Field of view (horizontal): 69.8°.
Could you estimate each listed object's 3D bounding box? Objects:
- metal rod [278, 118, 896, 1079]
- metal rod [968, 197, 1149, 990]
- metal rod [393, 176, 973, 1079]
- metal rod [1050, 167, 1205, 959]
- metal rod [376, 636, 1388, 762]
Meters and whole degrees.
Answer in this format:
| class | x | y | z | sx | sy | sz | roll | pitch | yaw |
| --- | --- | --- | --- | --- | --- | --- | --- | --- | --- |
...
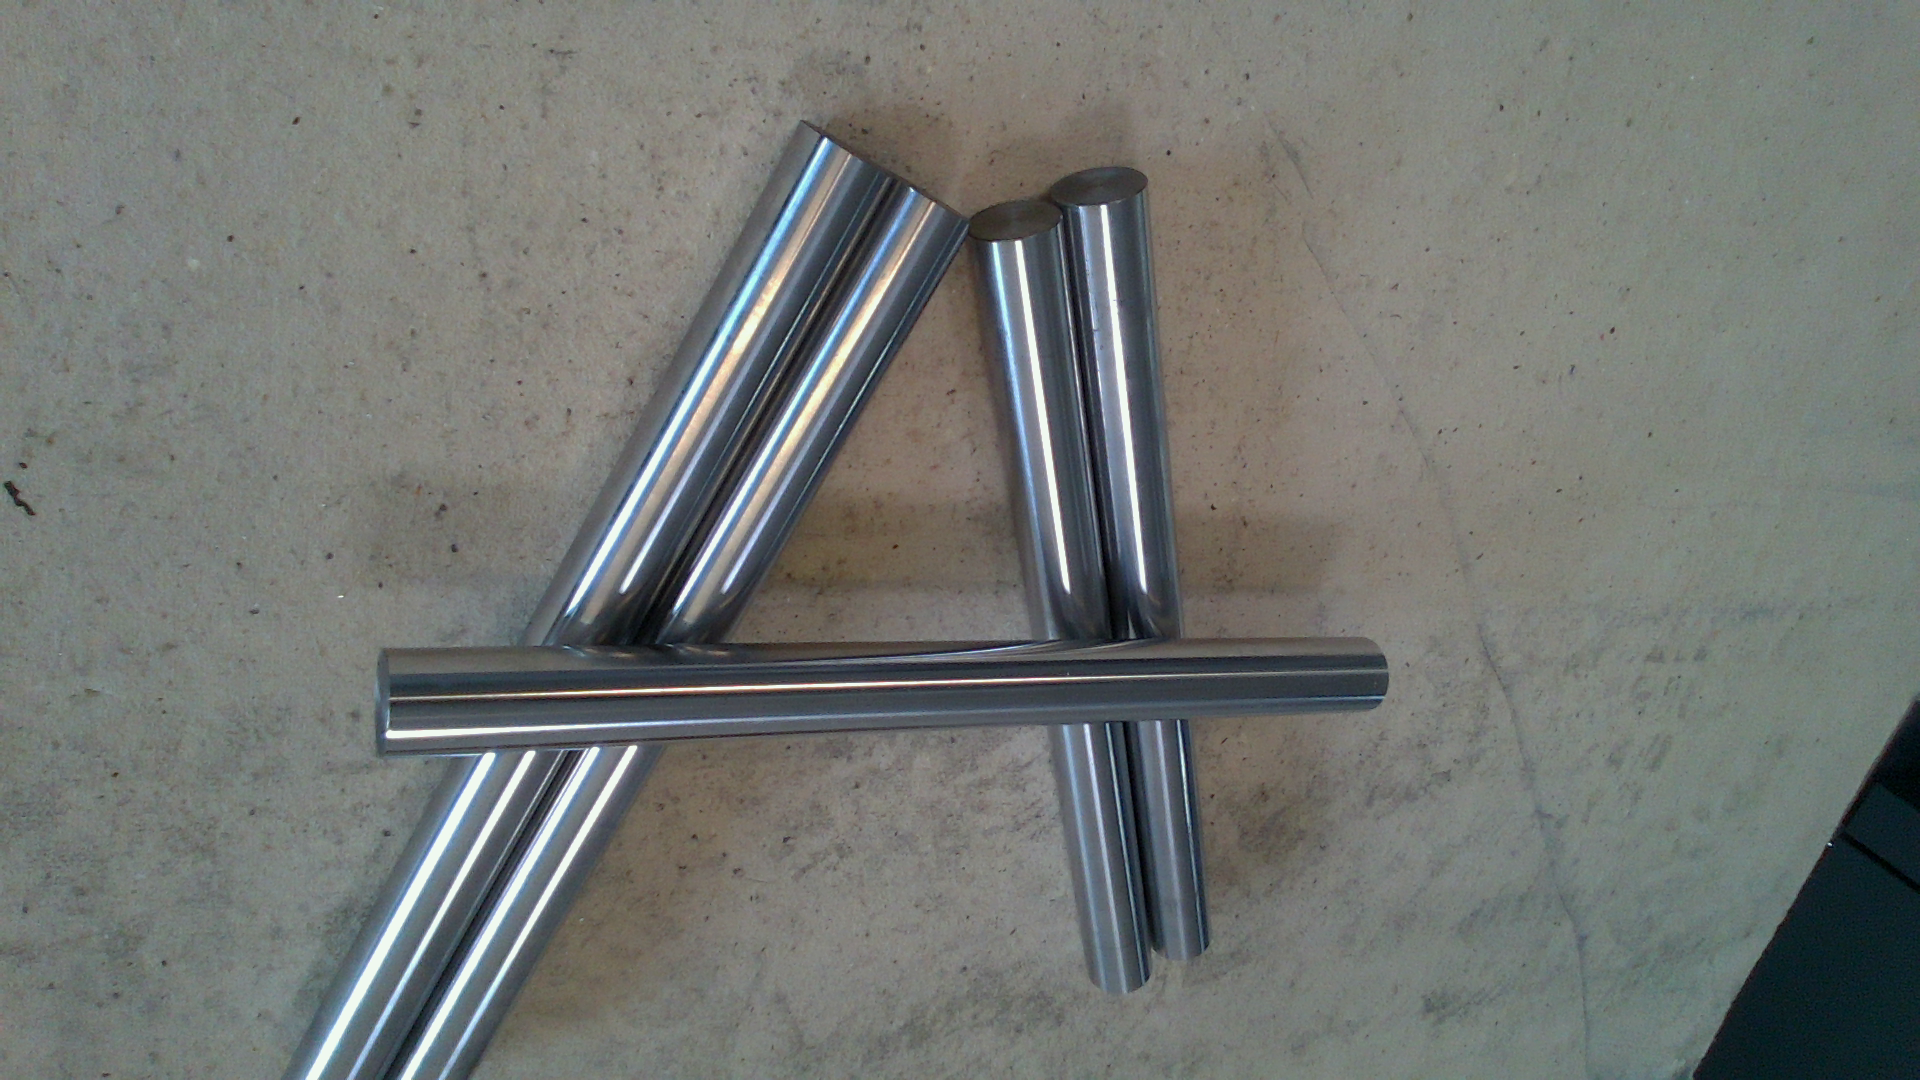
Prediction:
| class | x | y | z | sx | sy | sz | roll | pitch | yaw |
| --- | --- | --- | --- | --- | --- | --- | --- | --- | --- |
| metal rod | -0.103 | 0.033 | 0.353 | 0.025 | 0.025 | 0.300 | 22 | 106 | -36 |
| metal rod | 0.037 | 0.039 | 0.434 | 0.025 | 0.025 | 0.300 | -22 | 127 | -15 |
| metal rod | -0.084 | 0.040 | 0.368 | 0.025 | 0.025 | 0.300 | 22 | 107 | -36 |
| metal rod | 0.059 | 0.030 | 0.440 | 0.025 | 0.025 | 0.300 | -22 | 127 | -15 |
| metal rod | 0.001 | 0.041 | 0.383 | 0.301 | 0.025 | 0.025 | 1 | 118 | -29 |
